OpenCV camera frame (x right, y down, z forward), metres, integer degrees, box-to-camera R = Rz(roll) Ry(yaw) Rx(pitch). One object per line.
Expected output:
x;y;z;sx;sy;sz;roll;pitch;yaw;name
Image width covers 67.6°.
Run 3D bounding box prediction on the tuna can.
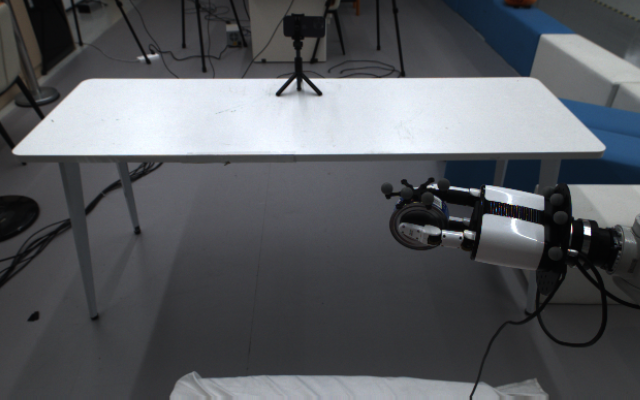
0.149;0.030;0.714;0.085;0.085;0.034;10;32;11;tuna can
